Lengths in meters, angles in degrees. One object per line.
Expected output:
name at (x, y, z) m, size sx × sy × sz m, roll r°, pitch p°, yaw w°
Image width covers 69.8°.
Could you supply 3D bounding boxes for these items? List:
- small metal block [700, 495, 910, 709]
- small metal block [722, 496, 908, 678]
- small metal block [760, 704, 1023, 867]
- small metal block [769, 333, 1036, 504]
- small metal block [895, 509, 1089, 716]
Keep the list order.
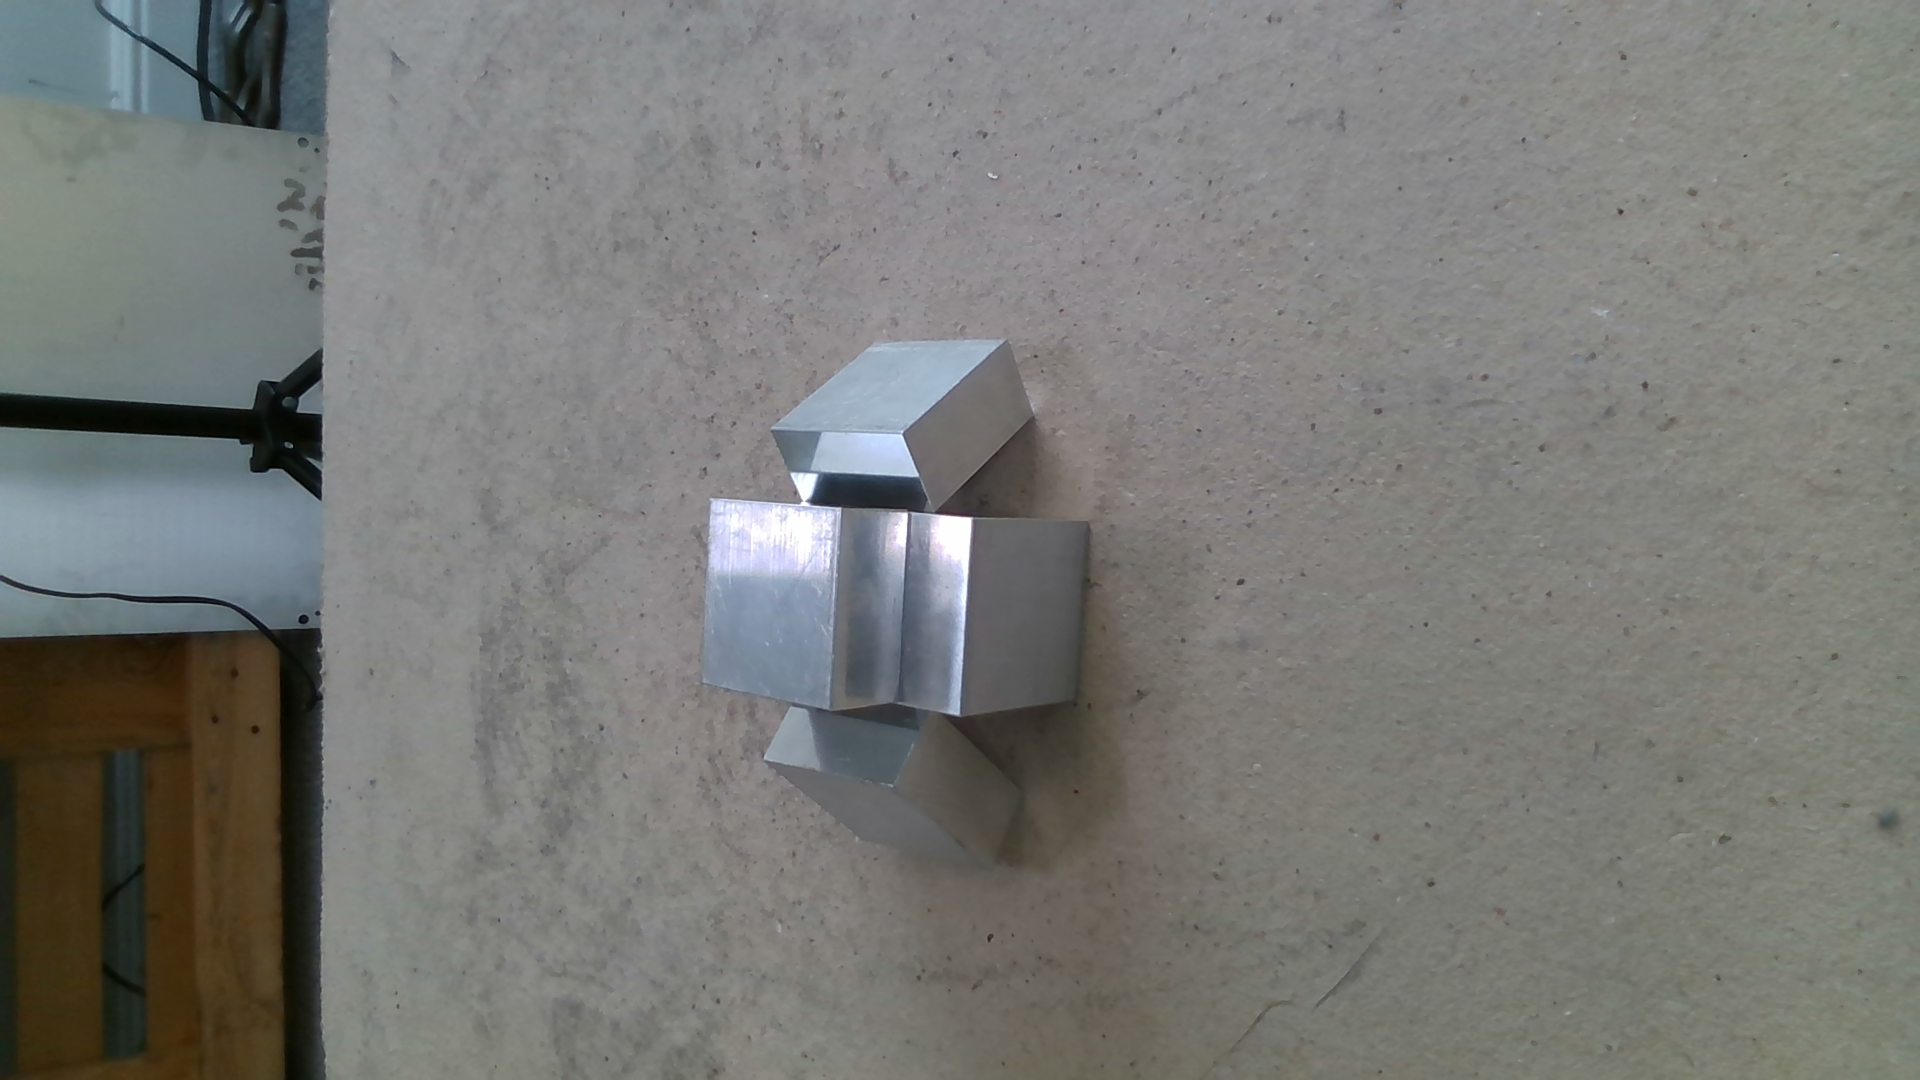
small metal block at (-0.041, 0.015, 0.361) m, size 0.050 × 0.025 × 0.050 m, roll 5°, pitch 94°, yaw 40°
small metal block at (-0.043, 0.013, 0.411) m, size 0.025 × 0.050 × 0.050 m, roll 4°, pitch 93°, yaw 40°
small metal block at (-0.019, 0.066, 0.388) m, size 0.050 × 0.050 × 0.025 m, roll 3°, pitch 57°, yaw 40°
small metal block at (-0.016, -0.034, 0.385) m, size 0.050 × 0.050 × 0.025 m, roll 6°, pitch 129°, yaw 40°
small metal block at (0.008, 0.018, 0.368) m, size 0.025 × 0.050 × 0.050 m, roll 6°, pitch 94°, yaw 41°
